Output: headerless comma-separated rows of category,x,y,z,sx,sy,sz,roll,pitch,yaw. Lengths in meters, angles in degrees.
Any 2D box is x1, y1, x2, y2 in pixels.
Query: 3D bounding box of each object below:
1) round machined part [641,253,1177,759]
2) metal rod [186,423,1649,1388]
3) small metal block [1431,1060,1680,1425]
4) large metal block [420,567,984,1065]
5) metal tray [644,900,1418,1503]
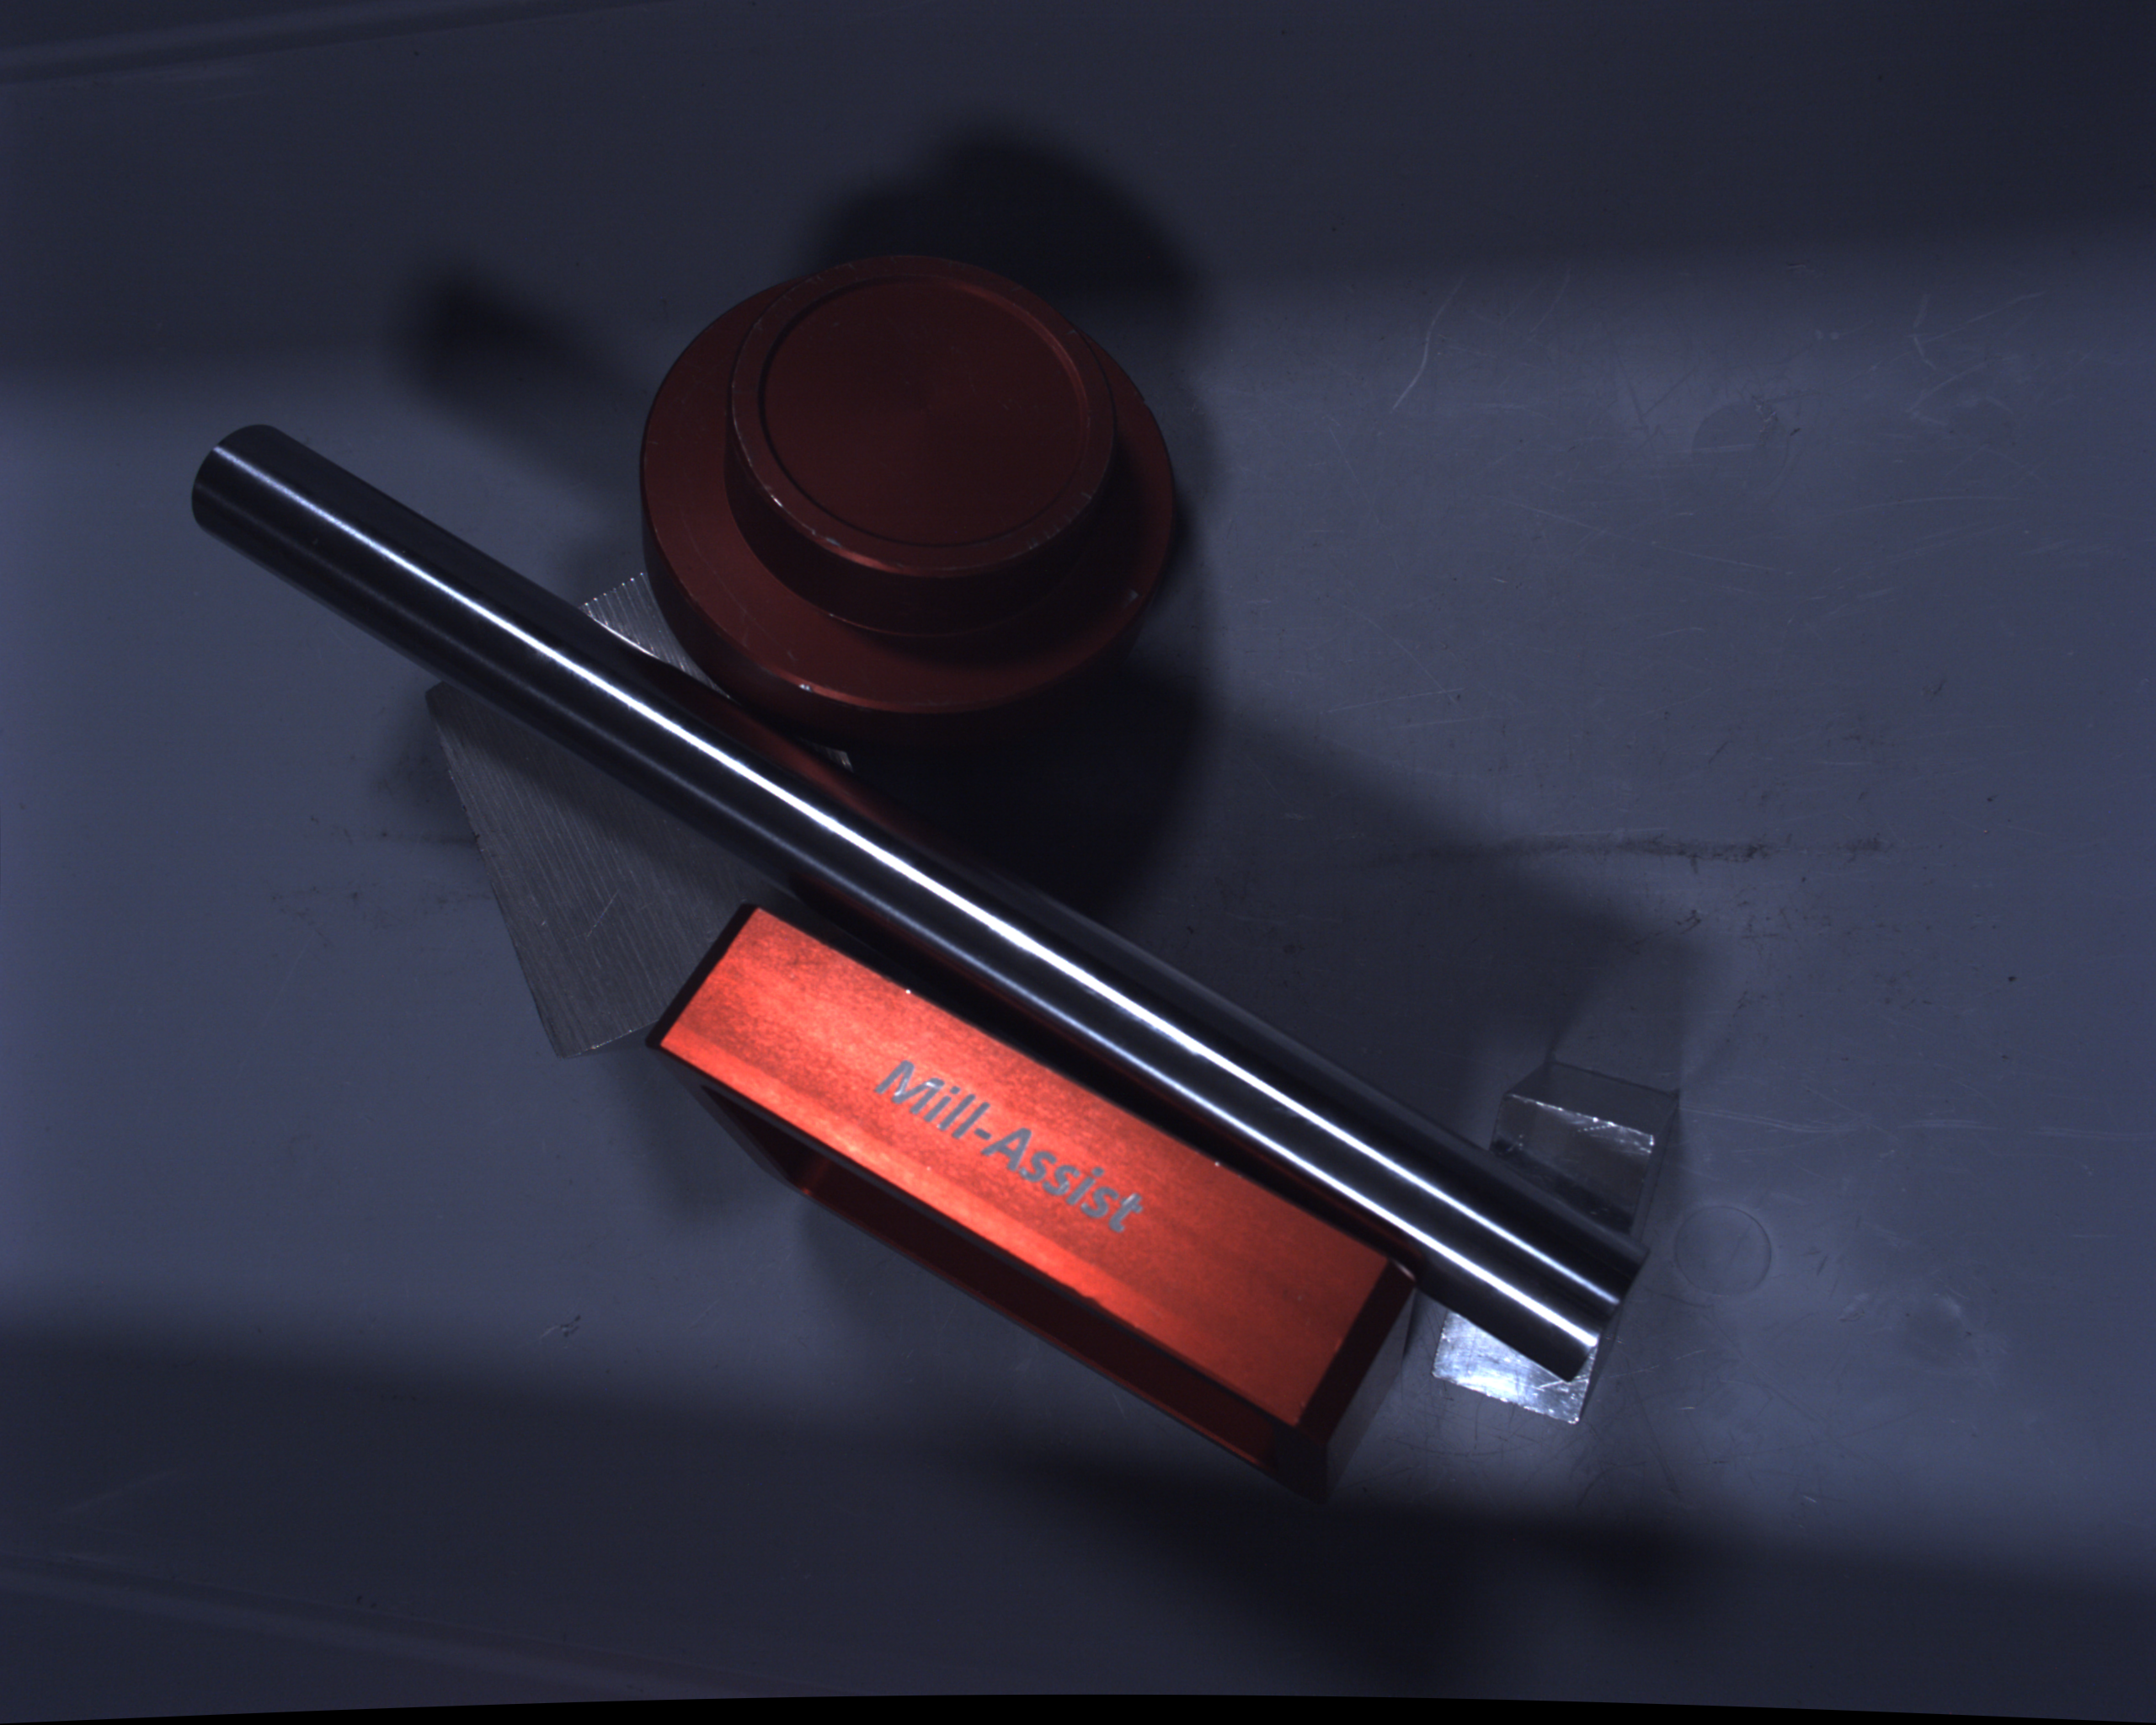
round machined part,-0.030,-0.071,0.382,0.099,0.042,0.098,5,65,-10
metal rod,-0.041,-0.002,0.368,0.301,0.025,0.025,31,100,17
small metal block,0.085,0.064,0.365,0.025,0.050,0.050,15,95,19
large metal block,-0.072,-0.013,0.420,0.080,0.050,0.080,-24,82,18
metal tray,-0.006,0.063,0.372,0.130,0.090,0.030,28,72,17
